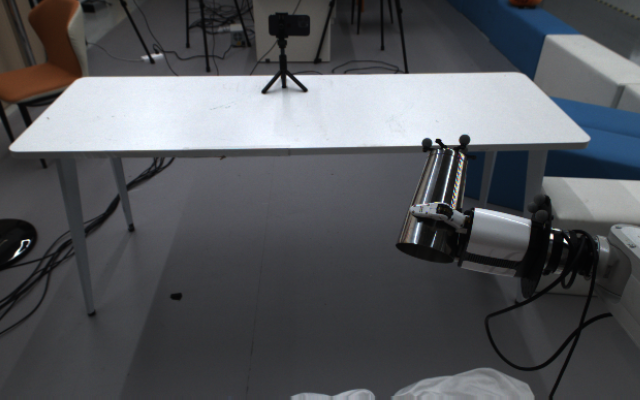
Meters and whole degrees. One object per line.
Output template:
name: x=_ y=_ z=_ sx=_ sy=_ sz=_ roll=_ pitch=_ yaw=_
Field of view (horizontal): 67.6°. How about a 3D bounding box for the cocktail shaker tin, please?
cocktail shaker tin: x=0.187 y=0.006 z=0.781 sx=0.093 sy=0.093 sz=0.170 roll=14 pitch=73 yaw=16
